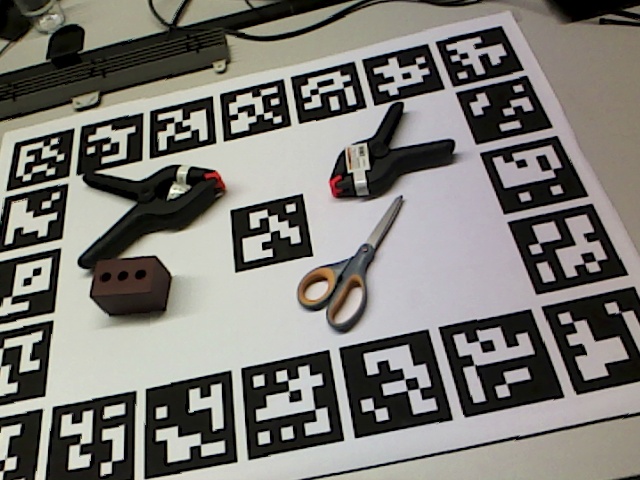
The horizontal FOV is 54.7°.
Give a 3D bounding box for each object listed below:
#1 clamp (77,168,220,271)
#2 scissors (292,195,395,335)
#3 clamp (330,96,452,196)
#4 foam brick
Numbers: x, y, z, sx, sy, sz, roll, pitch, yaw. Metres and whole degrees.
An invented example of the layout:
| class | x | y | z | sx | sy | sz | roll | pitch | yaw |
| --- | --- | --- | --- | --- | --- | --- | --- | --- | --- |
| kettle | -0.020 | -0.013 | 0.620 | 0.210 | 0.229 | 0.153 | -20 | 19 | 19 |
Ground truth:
| class | x | y | z | sx | sy | sz | roll | pitch | yaw |
| --- | --- | --- | --- | --- | --- | --- | --- | --- | --- |
| clamp | -0.239 | -0.051 | 0.861 | 0.203 | 0.036 | 0.166 | -16 | 53 | 1 |
| scissors | 0.043 | 0.019 | 0.763 | 0.088 | 0.016 | 0.202 | 25 | 65 | 17 |
| clamp | 0.080 | -0.116 | 0.837 | 0.165 | 0.036 | 0.122 | -37 | 65 | -11 |
| foam brick | -0.235 | 0.063 | 0.783 | 0.078 | 0.051 | 0.053 | -9 | 58 | 12 |
